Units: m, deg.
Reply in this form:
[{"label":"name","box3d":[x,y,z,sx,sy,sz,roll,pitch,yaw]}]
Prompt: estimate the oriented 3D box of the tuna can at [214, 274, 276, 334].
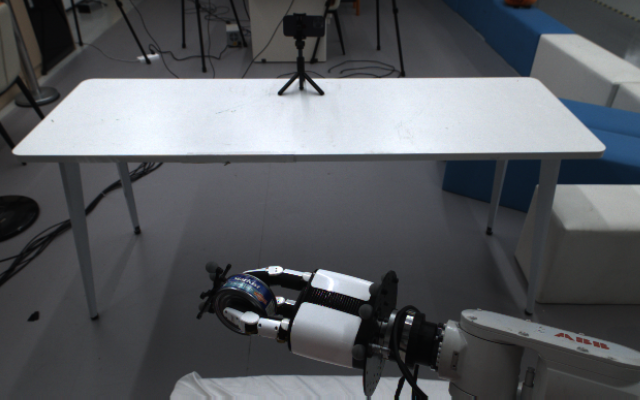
[{"label":"tuna can","box3d":[-0.102,0.148,0.672,0.085,0.085,0.034,11,30,13]}]
